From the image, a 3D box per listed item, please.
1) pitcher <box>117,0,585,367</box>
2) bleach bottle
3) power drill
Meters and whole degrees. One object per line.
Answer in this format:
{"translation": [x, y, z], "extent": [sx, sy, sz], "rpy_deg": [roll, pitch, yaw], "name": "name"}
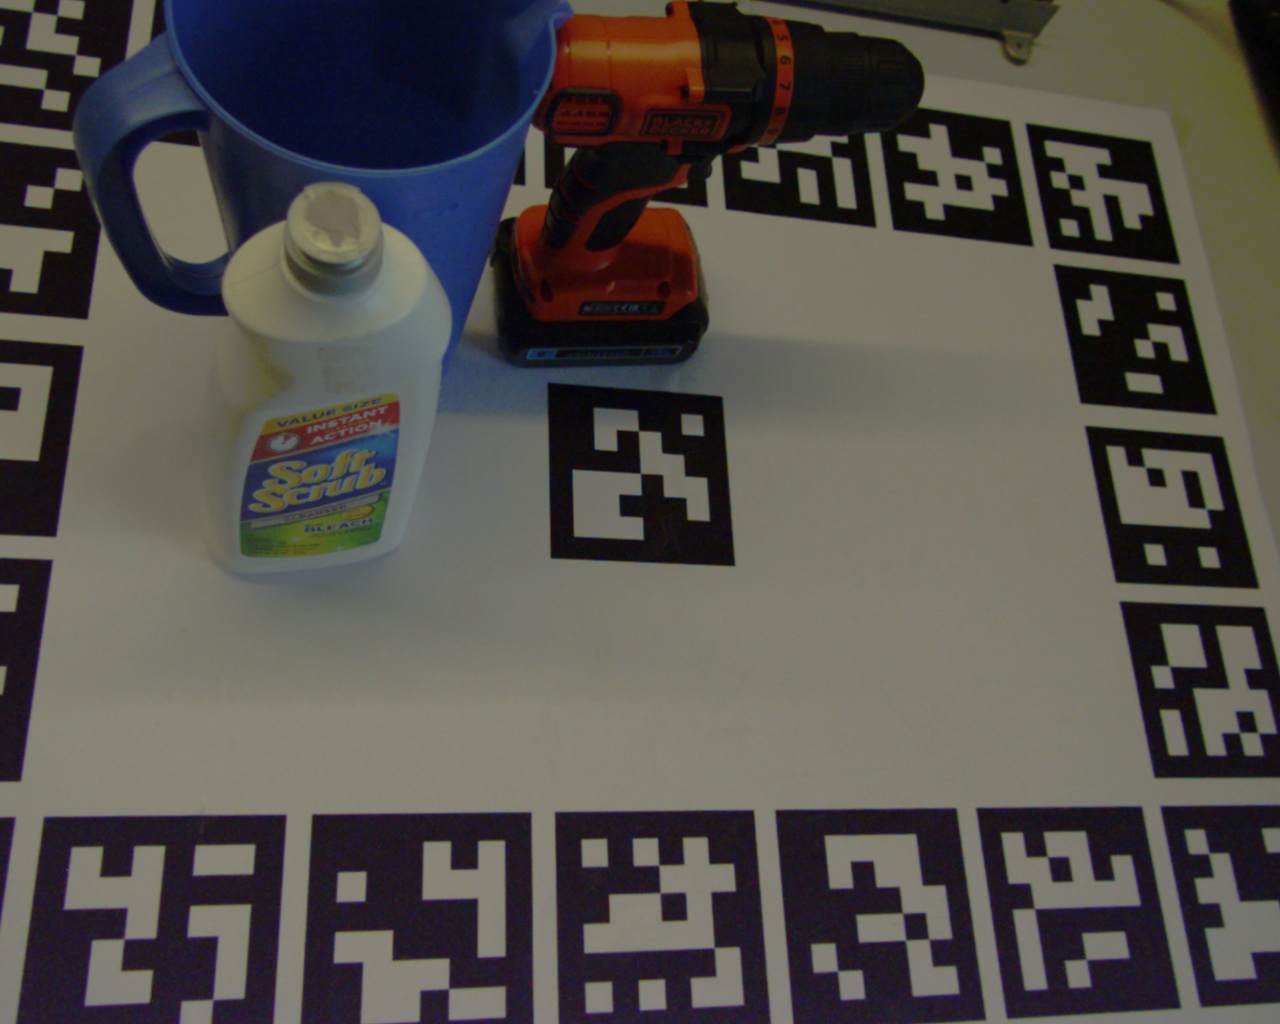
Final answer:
{"translation": [-0.131, -0.138, 0.523], "extent": [0.187, 0.244, 0.134], "rpy_deg": [-24, 81, -21], "name": "pitcher"}
{"translation": [-0.133, -0.048, 0.469], "extent": [0.102, 0.252, 0.068], "rpy_deg": [-4, 73, -16], "name": "bleach bottle"}
{"translation": [0.028, -0.143, 0.577], "extent": [0.183, 0.188, 0.057], "rpy_deg": [-1, 75, -21], "name": "power drill"}
